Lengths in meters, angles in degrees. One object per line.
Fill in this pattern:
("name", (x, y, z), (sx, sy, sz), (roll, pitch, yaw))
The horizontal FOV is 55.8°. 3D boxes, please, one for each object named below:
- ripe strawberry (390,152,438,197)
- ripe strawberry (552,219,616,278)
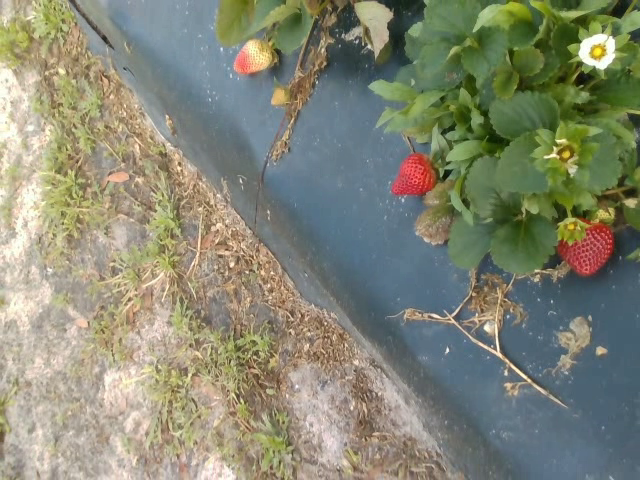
("ripe strawberry", (0.088, -0.059, 0.561), (0.050, 0.043, 0.042), (-41, -24, 21))
("ripe strawberry", (0.201, 0.008, 0.465), (0.046, 0.046, 0.043), (19, -32, -26))
